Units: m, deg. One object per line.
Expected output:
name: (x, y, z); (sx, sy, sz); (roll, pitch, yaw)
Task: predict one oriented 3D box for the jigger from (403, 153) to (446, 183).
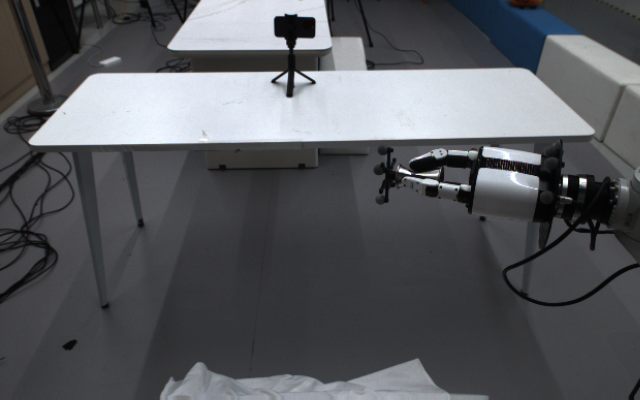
jigger: (0.162, -0.038, 0.755); (0.071, 0.043, 0.043); (6, 34, 21)
